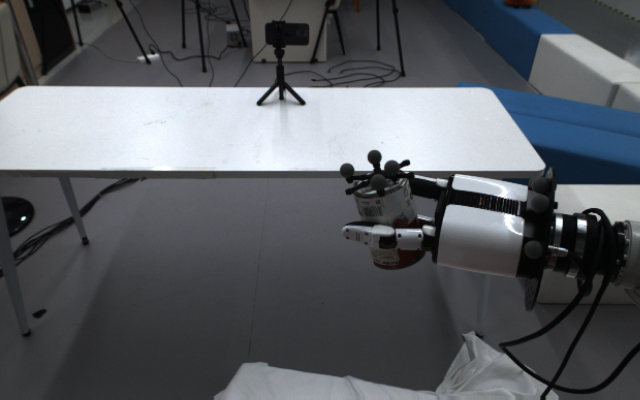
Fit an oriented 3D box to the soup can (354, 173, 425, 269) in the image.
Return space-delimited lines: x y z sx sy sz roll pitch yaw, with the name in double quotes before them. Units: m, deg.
"soup can" 0.085 0.023 0.579 0.067 0.101 0.067 -16 22 7
